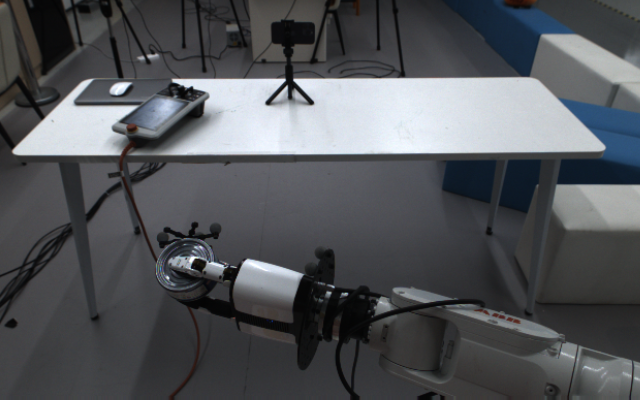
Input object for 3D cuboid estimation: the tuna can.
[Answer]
[{"bbox_3d":[-0.183,0.104,0.681,0.085,0.034,0.085,-3,59,5],"label":"tuna can"}]
